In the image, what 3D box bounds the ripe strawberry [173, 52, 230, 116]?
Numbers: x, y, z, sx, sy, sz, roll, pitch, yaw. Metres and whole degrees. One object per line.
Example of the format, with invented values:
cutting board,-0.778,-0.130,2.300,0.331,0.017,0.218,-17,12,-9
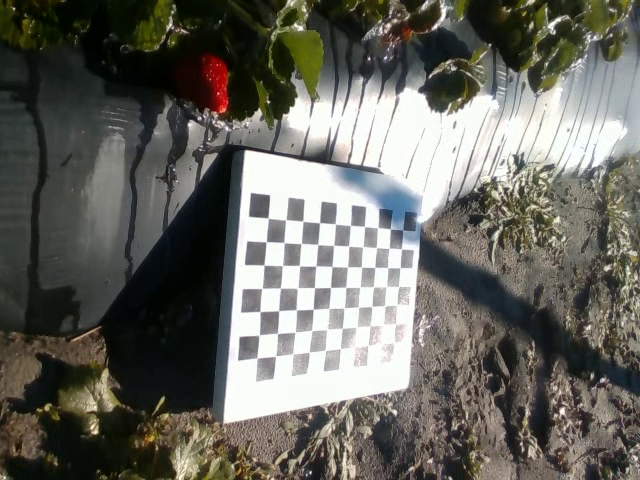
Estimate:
ripe strawberry,-0.080,-0.107,0.398,0.041,0.053,0.047,-5,-30,-42
